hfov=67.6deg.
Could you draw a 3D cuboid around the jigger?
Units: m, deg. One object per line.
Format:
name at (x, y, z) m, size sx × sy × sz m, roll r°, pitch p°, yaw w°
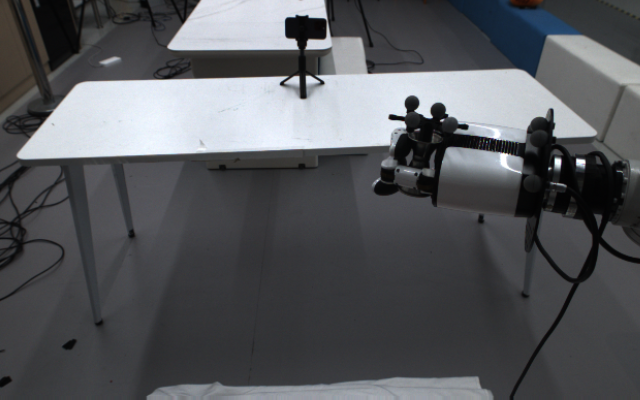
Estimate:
jigger at (0.116, -0.045, 0.575) m, size 0.043 × 0.071 × 0.043 m, roll 5°, pitch 26°, yaw -3°
